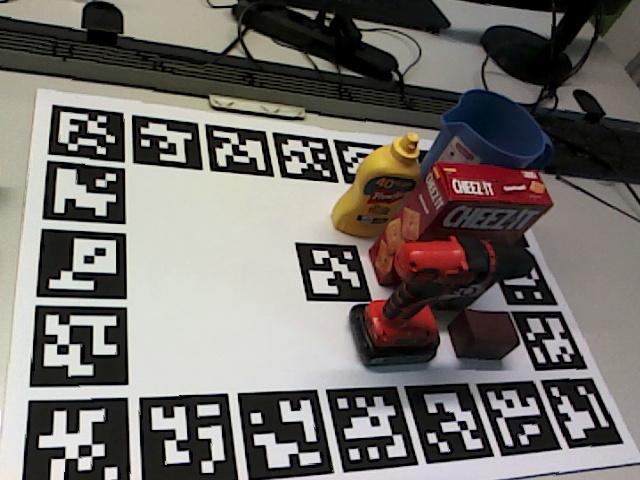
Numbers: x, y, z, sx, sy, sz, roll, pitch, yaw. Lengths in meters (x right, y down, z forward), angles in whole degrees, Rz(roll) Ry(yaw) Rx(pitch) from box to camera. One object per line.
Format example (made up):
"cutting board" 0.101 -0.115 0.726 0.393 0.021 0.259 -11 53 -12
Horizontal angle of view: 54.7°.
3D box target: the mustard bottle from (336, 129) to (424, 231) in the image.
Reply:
"mustard bottle" 0.098 -0.091 0.908 0.096 0.191 0.058 14 51 -13

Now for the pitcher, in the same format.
"pitcher" 0.225 -0.091 0.948 0.188 0.242 0.134 7 52 -16

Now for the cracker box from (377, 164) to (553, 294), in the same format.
"cracker box" 0.198 -0.007 0.878 0.163 0.213 0.072 0 53 -21

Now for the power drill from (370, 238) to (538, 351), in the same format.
"power drill" 0.158 0.070 0.780 0.183 0.187 0.057 3 50 -23

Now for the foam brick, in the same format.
"foam brick" 0.235 0.137 0.897 0.078 0.051 0.053 5 54 -20

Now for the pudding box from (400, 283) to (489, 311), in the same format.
"pudding box" 0.181 0.063 0.888 0.113 0.090 0.039 2 52 -19
